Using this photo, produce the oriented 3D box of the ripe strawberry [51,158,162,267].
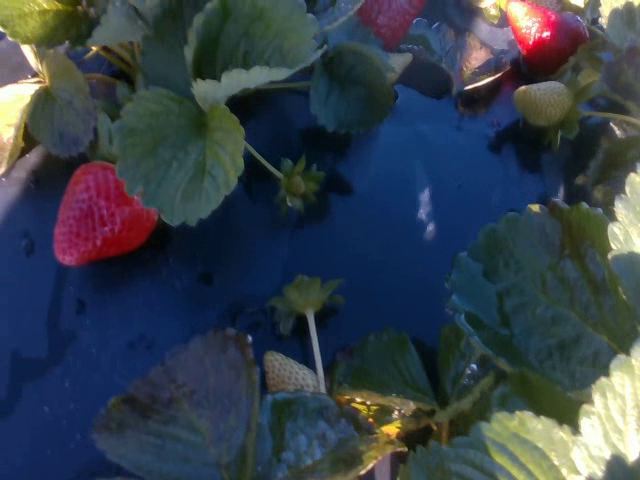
[{"bbox_3d":[-0.096,-0.010,0.265,0.045,0.059,0.042,7,-30,41],"label":"ripe strawberry"}]
